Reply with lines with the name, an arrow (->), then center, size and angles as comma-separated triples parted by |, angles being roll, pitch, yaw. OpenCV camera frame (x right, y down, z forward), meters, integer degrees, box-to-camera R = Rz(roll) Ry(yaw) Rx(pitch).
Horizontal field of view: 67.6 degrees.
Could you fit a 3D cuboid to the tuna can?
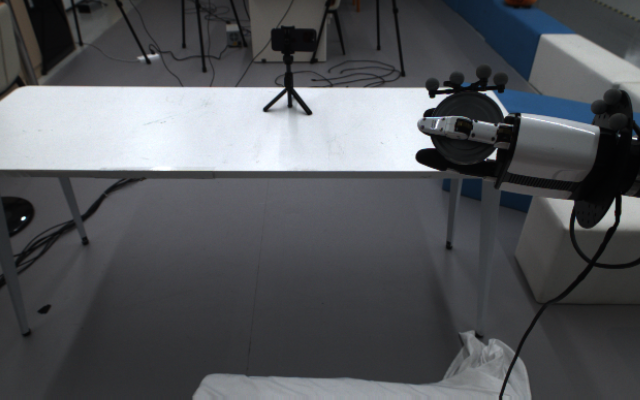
tuna can -> 0.178, -0.088, 0.588 | 0.085, 0.085, 0.034 | 16, 0, 19
